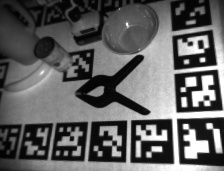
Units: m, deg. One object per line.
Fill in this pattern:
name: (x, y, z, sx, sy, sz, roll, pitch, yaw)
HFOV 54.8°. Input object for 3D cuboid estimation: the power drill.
power drill: (-0.098, -0.232, 0.586, 0.183, 0.189, 0.057, -10, 69, 18)

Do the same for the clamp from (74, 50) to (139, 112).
clamp: (-0.031, -0.004, 0.580, 0.201, 0.037, 0.165, -7, 74, 19)

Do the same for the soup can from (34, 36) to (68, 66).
soup can: (-0.189, -0.112, 0.651, 0.067, 0.103, 0.067, -10, 60, 19)

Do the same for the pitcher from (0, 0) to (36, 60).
pitcher: (-0.325, -0.184, 0.648, 0.188, 0.245, 0.132, -28, 61, 11)

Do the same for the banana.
banana: (-0.295, -0.045, 0.707, 0.197, 0.039, 0.073, -28, 56, 8)

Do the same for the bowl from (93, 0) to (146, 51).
bowl: (0.031, -0.159, 0.606, 0.160, 0.056, 0.161, -6, 71, 20)
